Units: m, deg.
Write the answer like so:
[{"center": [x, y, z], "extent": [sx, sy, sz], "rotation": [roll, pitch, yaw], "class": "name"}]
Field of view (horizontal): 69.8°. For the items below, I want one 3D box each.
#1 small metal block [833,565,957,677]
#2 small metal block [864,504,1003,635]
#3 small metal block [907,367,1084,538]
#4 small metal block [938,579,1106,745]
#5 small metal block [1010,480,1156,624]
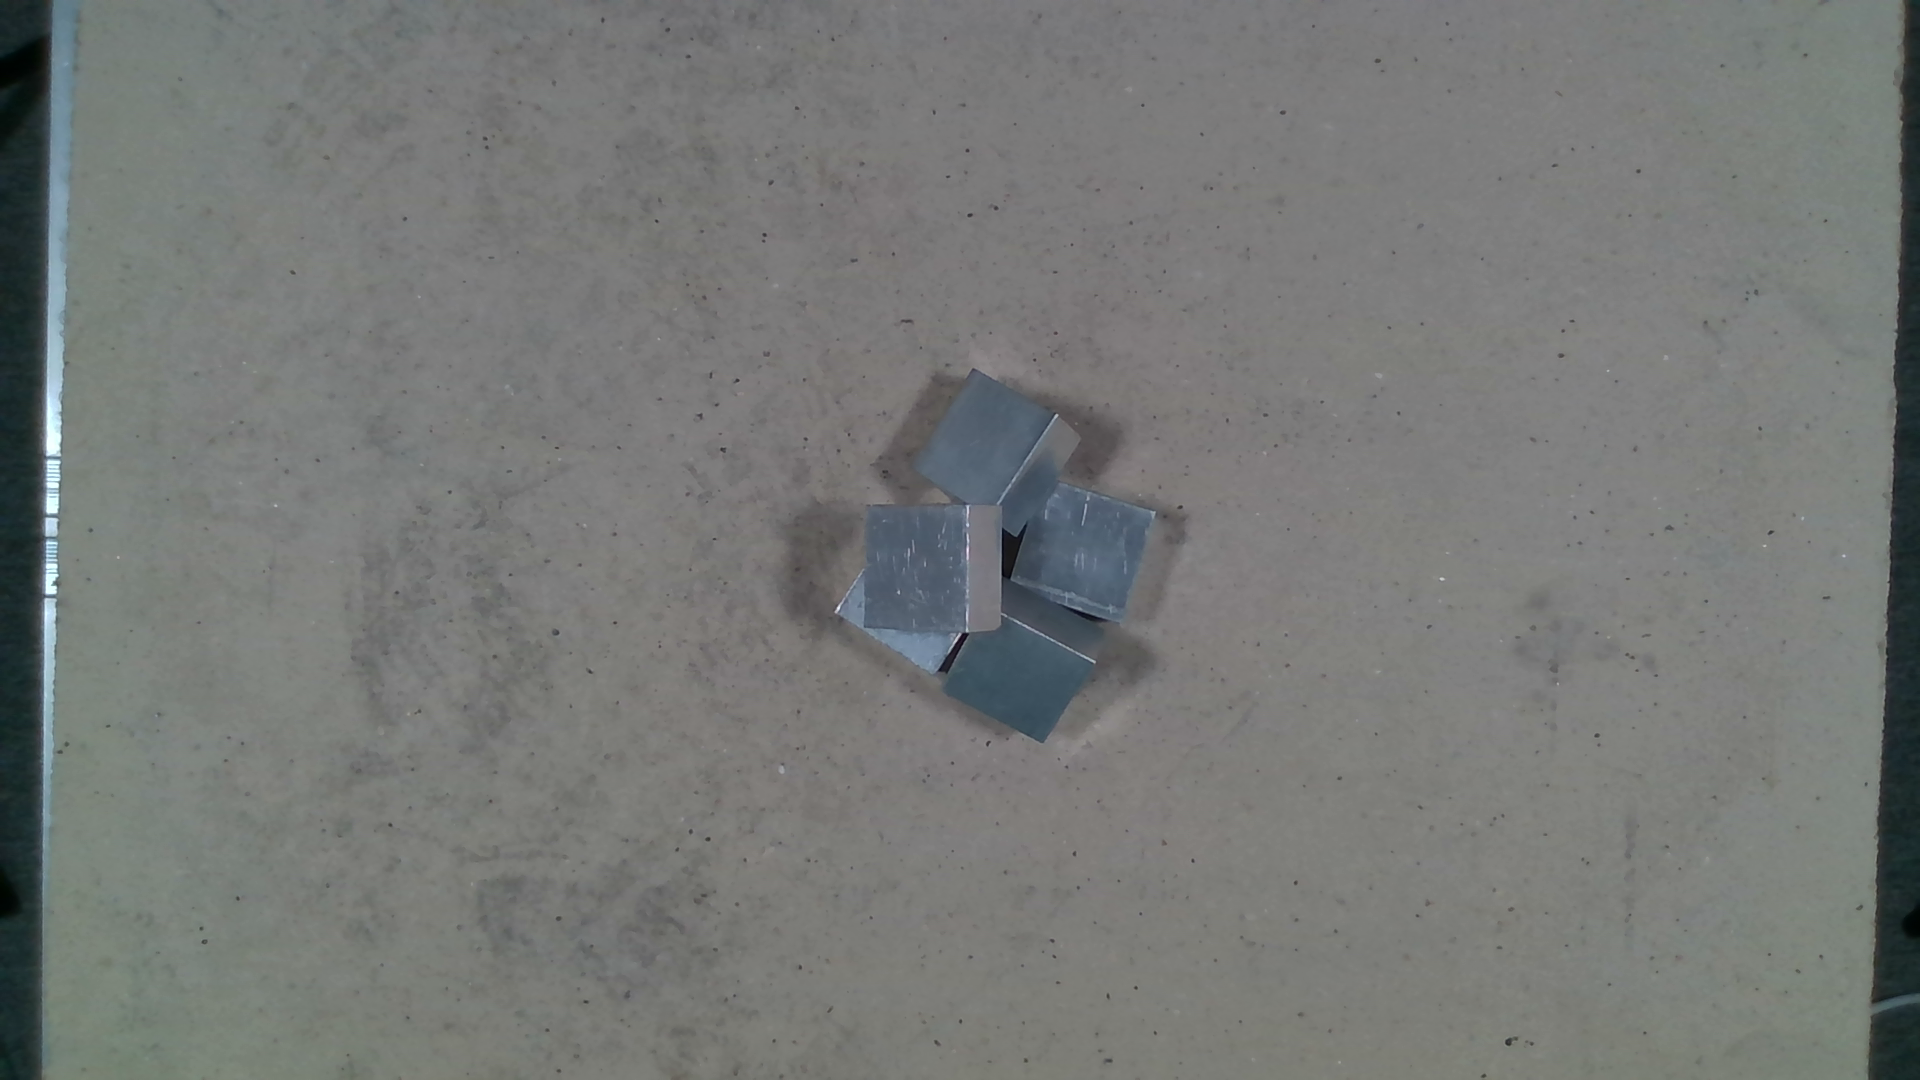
[{"center": [-0.019, 0.023, 0.588], "extent": [0.050, 0.025, 0.050], "rotation": [33, 90, 0], "class": "small metal block"}, {"center": [-0.011, 0.011, 0.551], "extent": [0.050, 0.025, 0.050], "rotation": [0, 90, 32], "class": "small metal block"}, {"center": [0.015, -0.037, 0.575], "extent": [0.050, 0.025, 0.050], "rotation": [34, 91, 36], "class": "small metal block"}, {"center": [0.026, 0.050, 0.576], "extent": [0.050, 0.025, 0.050], "rotation": [28, 124, 0], "class": "small metal block"}, {"center": [0.051, 0.004, 0.588], "extent": [0.050, 0.025, 0.050], "rotation": [17, 90, 0], "class": "small metal block"}]
